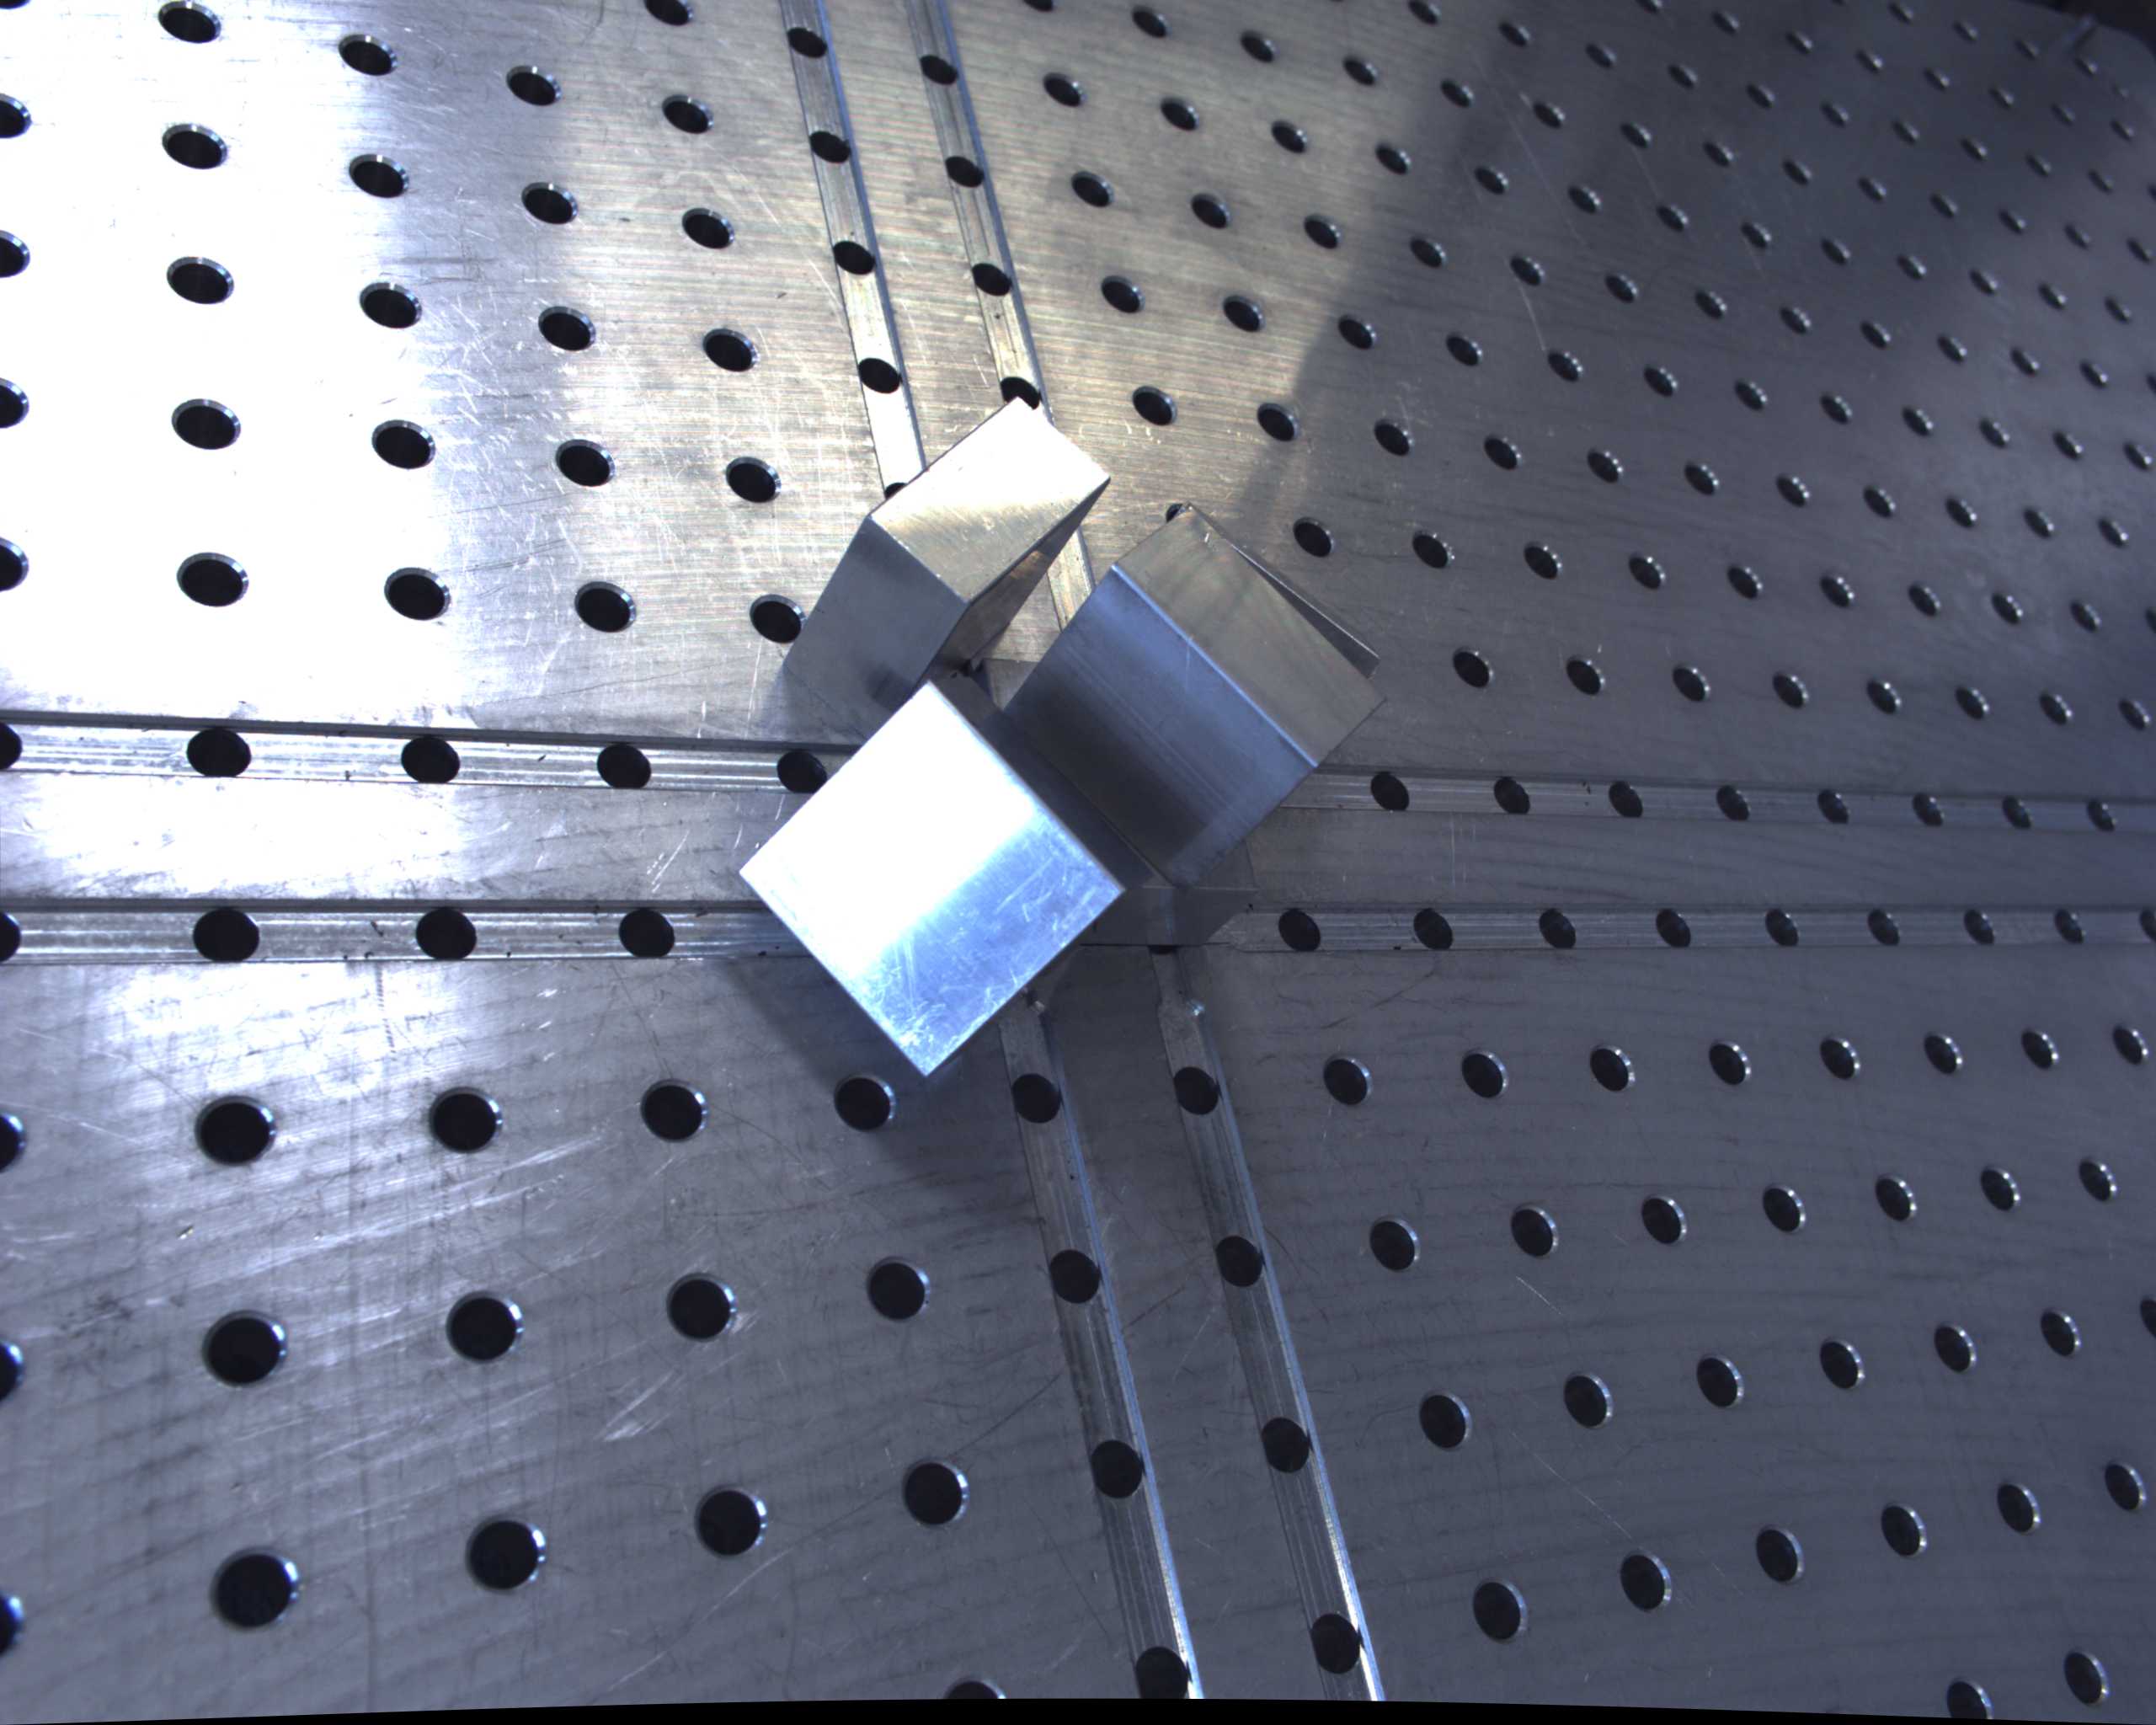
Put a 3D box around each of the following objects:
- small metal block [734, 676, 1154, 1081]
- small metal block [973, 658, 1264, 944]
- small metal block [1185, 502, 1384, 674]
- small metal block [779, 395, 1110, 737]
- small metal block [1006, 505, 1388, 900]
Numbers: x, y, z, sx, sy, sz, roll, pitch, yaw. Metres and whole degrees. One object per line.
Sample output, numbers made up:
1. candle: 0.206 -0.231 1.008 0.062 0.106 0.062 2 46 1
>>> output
1. small metal block: -0.023 0.002 0.374 0.050 0.050 0.025 47 14 5
2. small metal block: 0.004 -0.011 0.416 0.050 0.025 0.050 1 61 -29
3. small metal block: 0.035 -0.051 0.440 0.050 0.025 0.050 37 11 -4
4. small metal block: -0.027 -0.057 0.412 0.025 0.050 0.050 42 51 0
5. small metal block: 0.020 -0.029 0.388 0.050 0.050 0.025 46 50 3
